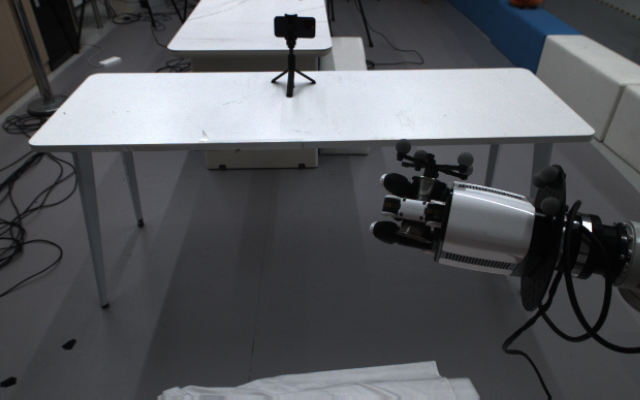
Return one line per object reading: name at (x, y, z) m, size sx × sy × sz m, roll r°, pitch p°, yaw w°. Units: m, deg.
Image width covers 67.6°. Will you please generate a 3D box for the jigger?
jigger at (0.118, 0.011, 0.553) m, size 0.043 × 0.071 × 0.043 m, roll 16°, pitch -7°, yaw 2°
